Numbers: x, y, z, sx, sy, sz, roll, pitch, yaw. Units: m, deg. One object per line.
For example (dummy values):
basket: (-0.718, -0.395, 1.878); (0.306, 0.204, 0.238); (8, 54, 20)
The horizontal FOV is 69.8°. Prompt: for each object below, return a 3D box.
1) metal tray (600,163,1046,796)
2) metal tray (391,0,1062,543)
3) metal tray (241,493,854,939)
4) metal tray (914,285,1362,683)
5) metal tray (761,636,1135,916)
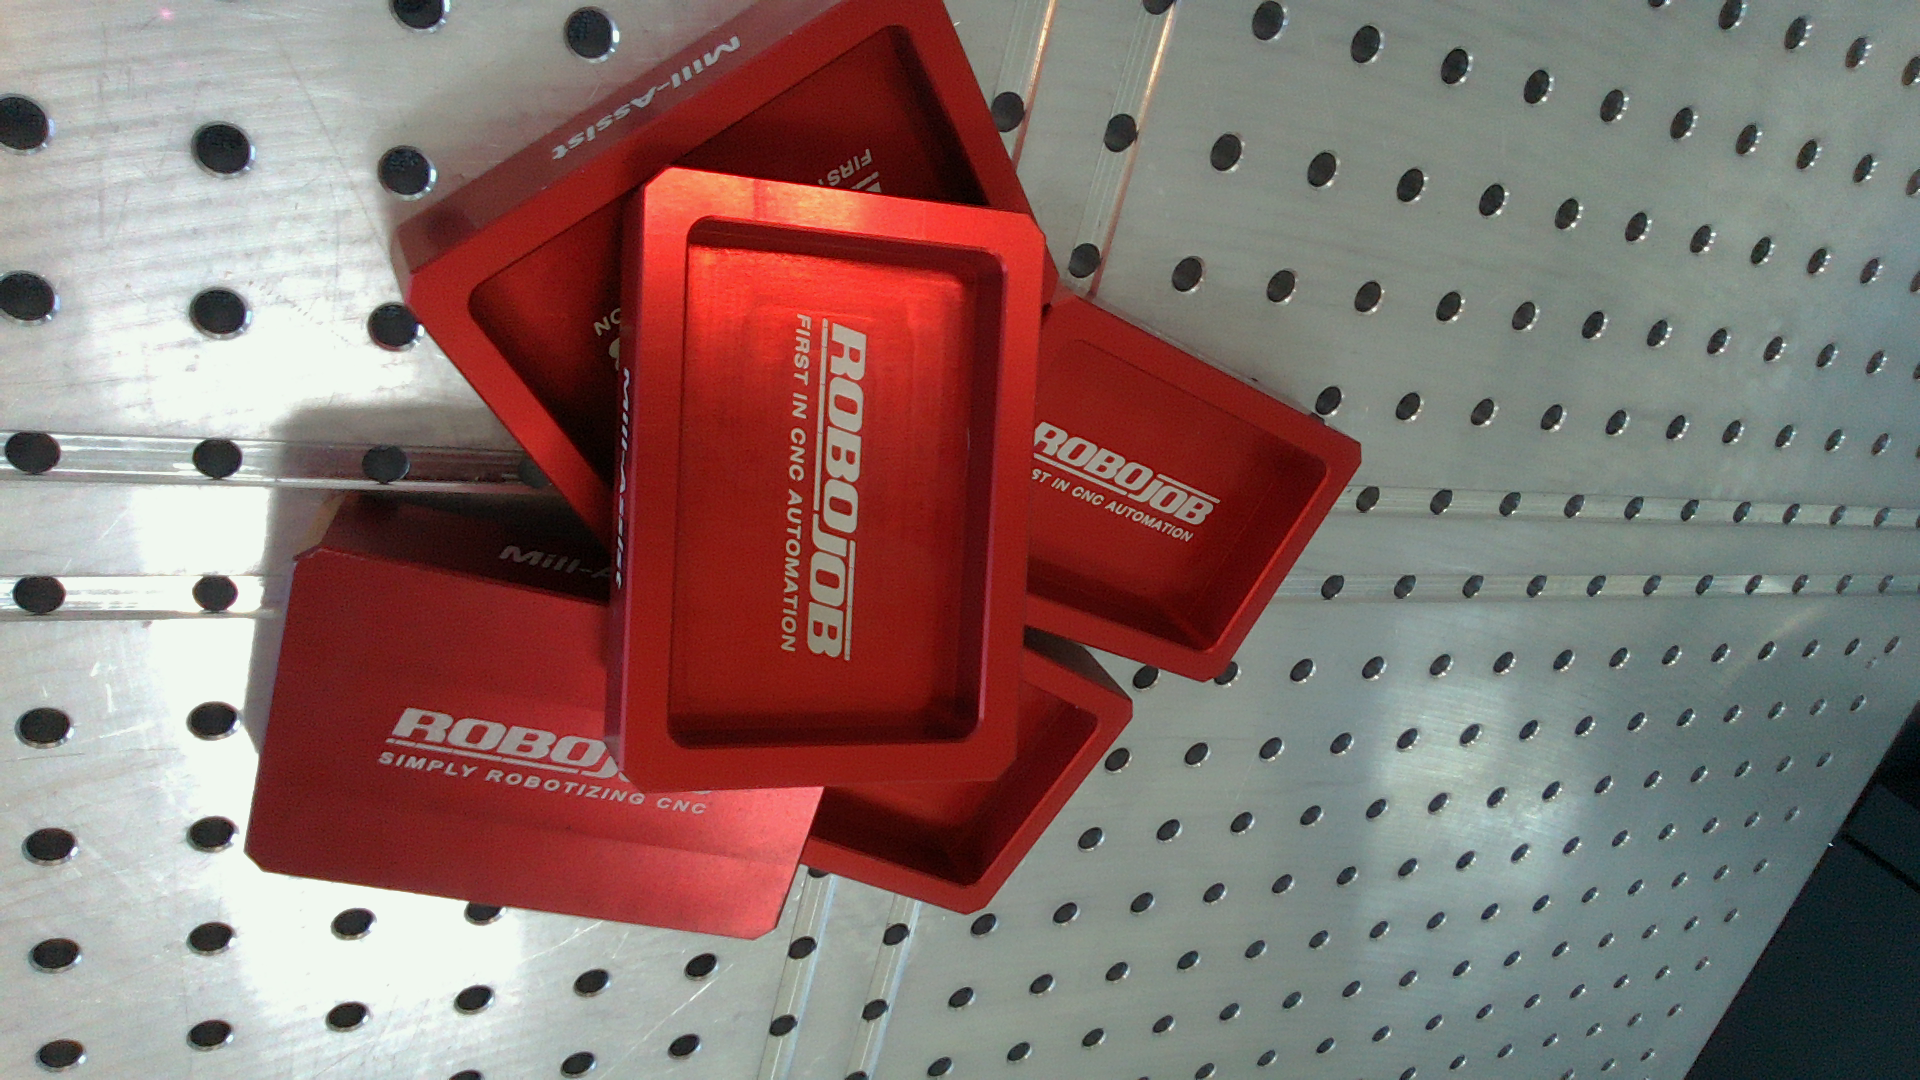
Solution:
metal tray: (-0.031, -0.011, 0.310); (0.090, 0.030, 0.130); (2, 94, -21)
metal tray: (-0.050, -0.063, 0.322); (0.130, 0.030, 0.090); (-34, 128, -6)
metal tray: (-0.099, 0.048, 0.342); (0.130, 0.030, 0.090); (13, 113, -19)
metal tray: (0.048, -0.015, 0.404); (0.130, 0.030, 0.090); (19, 109, -36)
metal tray: (-0.019, 0.057, 0.412); (0.130, 0.030, 0.090); (28, 103, -37)
